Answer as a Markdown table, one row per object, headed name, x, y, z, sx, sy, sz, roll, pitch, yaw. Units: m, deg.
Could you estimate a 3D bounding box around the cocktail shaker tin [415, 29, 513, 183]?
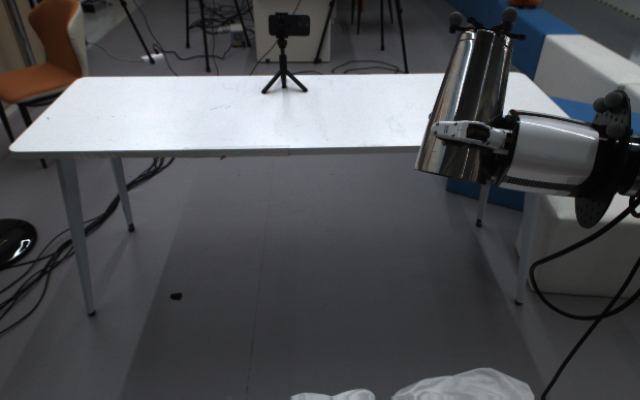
| name | x | y | z | sx | sy | sz | roll | pitch | yaw |
| --- | --- | --- | --- | --- | --- | --- | --- | --- | --- |
| cocktail shaker tin | 0.181 | -0.110 | 0.589 | 0.093 | 0.170 | 0.093 | 13 | 4 | -1 |
